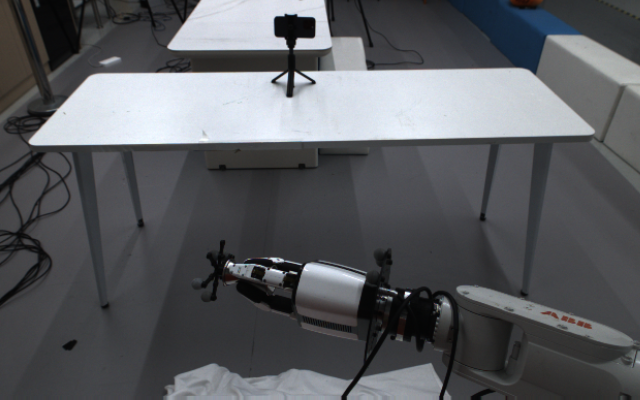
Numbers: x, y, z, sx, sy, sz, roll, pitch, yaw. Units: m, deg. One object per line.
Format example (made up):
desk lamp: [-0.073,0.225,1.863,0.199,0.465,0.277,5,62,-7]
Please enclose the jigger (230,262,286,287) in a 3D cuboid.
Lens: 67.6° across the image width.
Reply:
jigger: [-0.092,0.104,0.685,0.071,0.043,0.043,8,35,15]
